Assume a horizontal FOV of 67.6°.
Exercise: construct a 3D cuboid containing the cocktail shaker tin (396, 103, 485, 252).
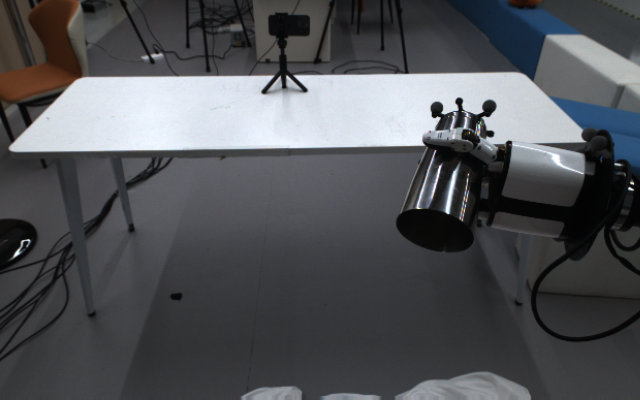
[{"bbox_3d":[0.162,-0.032,0.608,0.093,0.093,0.170,14,57,16],"label":"cocktail shaker tin"}]
